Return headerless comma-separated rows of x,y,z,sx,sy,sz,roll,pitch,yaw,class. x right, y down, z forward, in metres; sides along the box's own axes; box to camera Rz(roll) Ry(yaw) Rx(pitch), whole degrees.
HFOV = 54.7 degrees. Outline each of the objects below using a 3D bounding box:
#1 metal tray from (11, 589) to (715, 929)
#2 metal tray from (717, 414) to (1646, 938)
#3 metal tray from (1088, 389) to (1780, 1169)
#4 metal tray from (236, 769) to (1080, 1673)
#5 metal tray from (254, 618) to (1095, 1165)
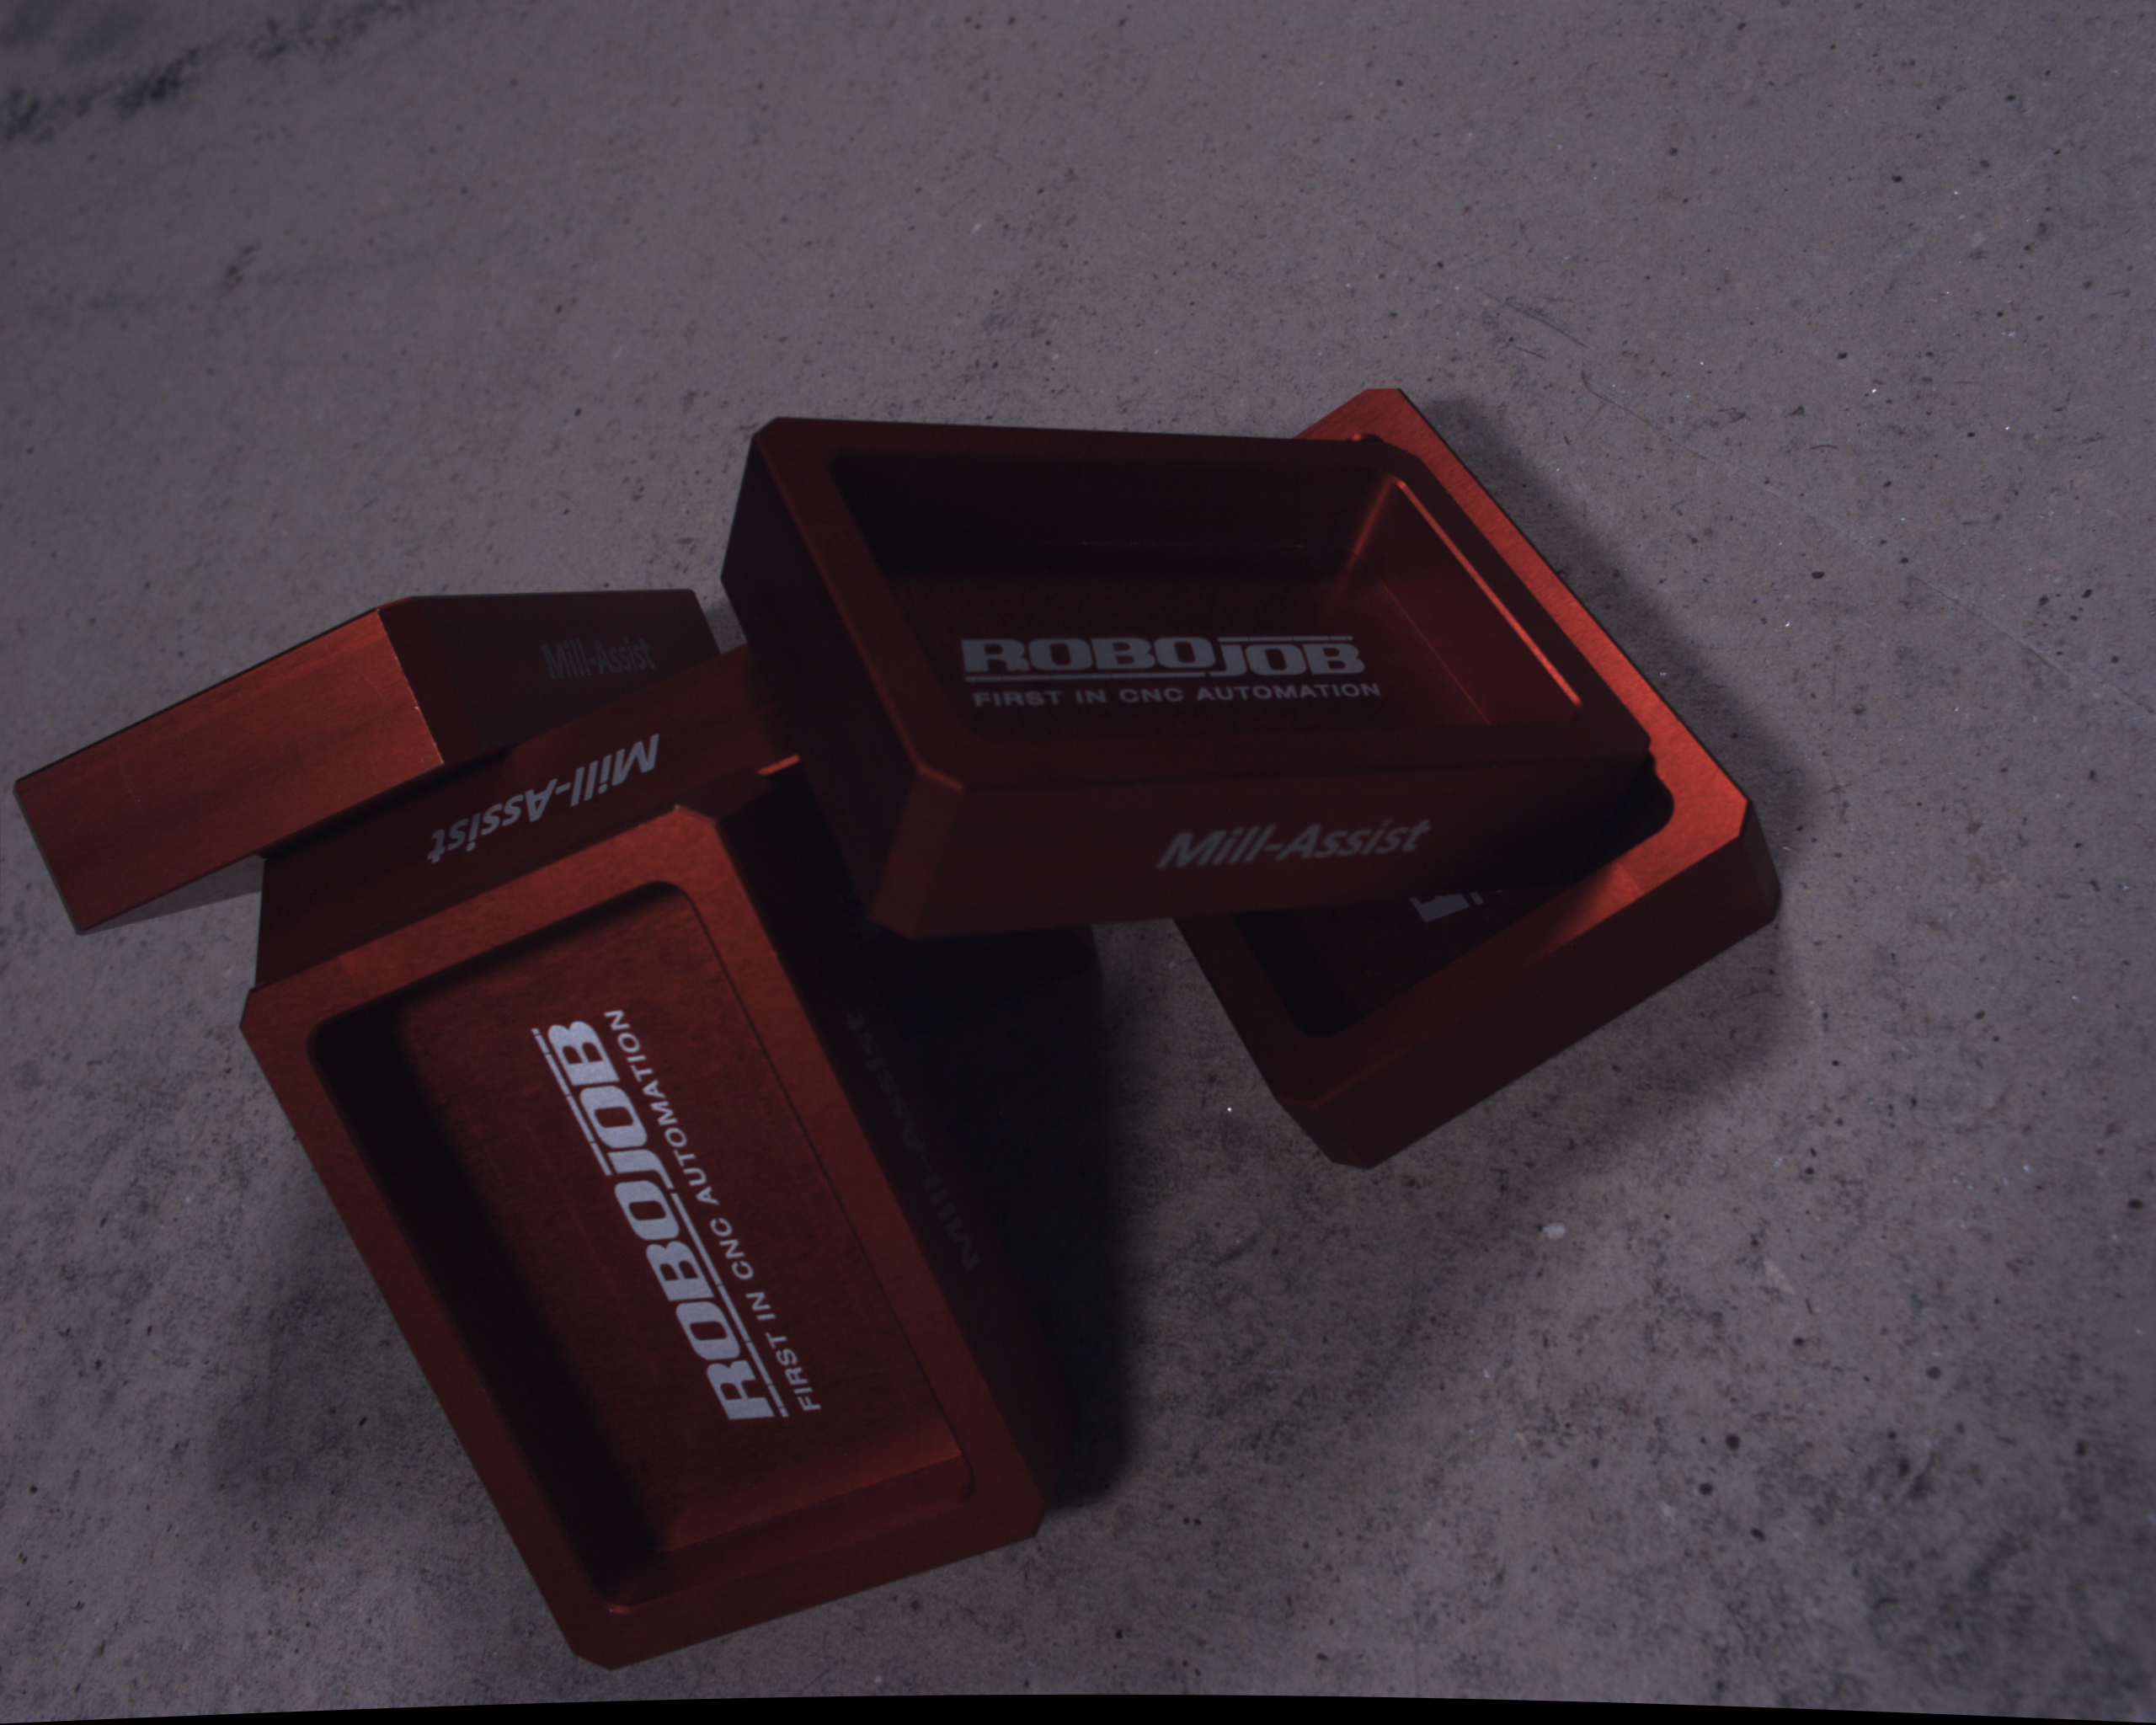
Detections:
-0.136,-0.025,0.429,0.090,0.130,0.030,-22,92,15,metal tray
0.017,-0.034,0.345,0.131,0.030,0.090,-4,46,-28,metal tray
0.053,-0.020,0.385,0.090,0.030,0.130,-33,52,6,metal tray
-0.068,0.061,0.346,0.090,0.030,0.129,-23,98,15,metal tray
-0.074,0.010,0.395,0.130,0.090,0.030,-22,54,14,metal tray
